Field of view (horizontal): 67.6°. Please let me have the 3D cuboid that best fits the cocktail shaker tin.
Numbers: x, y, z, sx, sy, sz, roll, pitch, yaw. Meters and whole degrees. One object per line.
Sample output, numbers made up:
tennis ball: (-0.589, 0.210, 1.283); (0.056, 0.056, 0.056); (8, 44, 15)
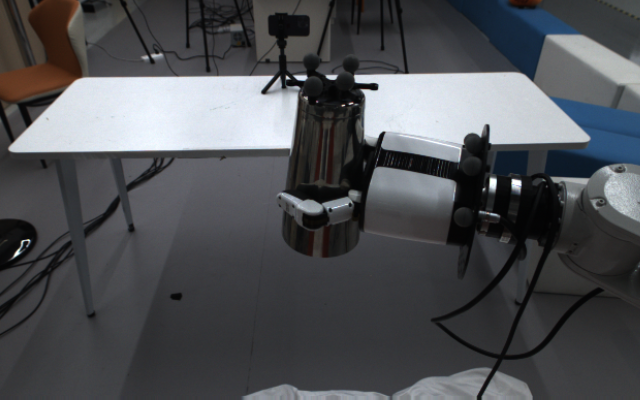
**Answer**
cocktail shaker tin: (0.009, -0.033, 0.517); (0.093, 0.170, 0.093); (3, 34, -2)
